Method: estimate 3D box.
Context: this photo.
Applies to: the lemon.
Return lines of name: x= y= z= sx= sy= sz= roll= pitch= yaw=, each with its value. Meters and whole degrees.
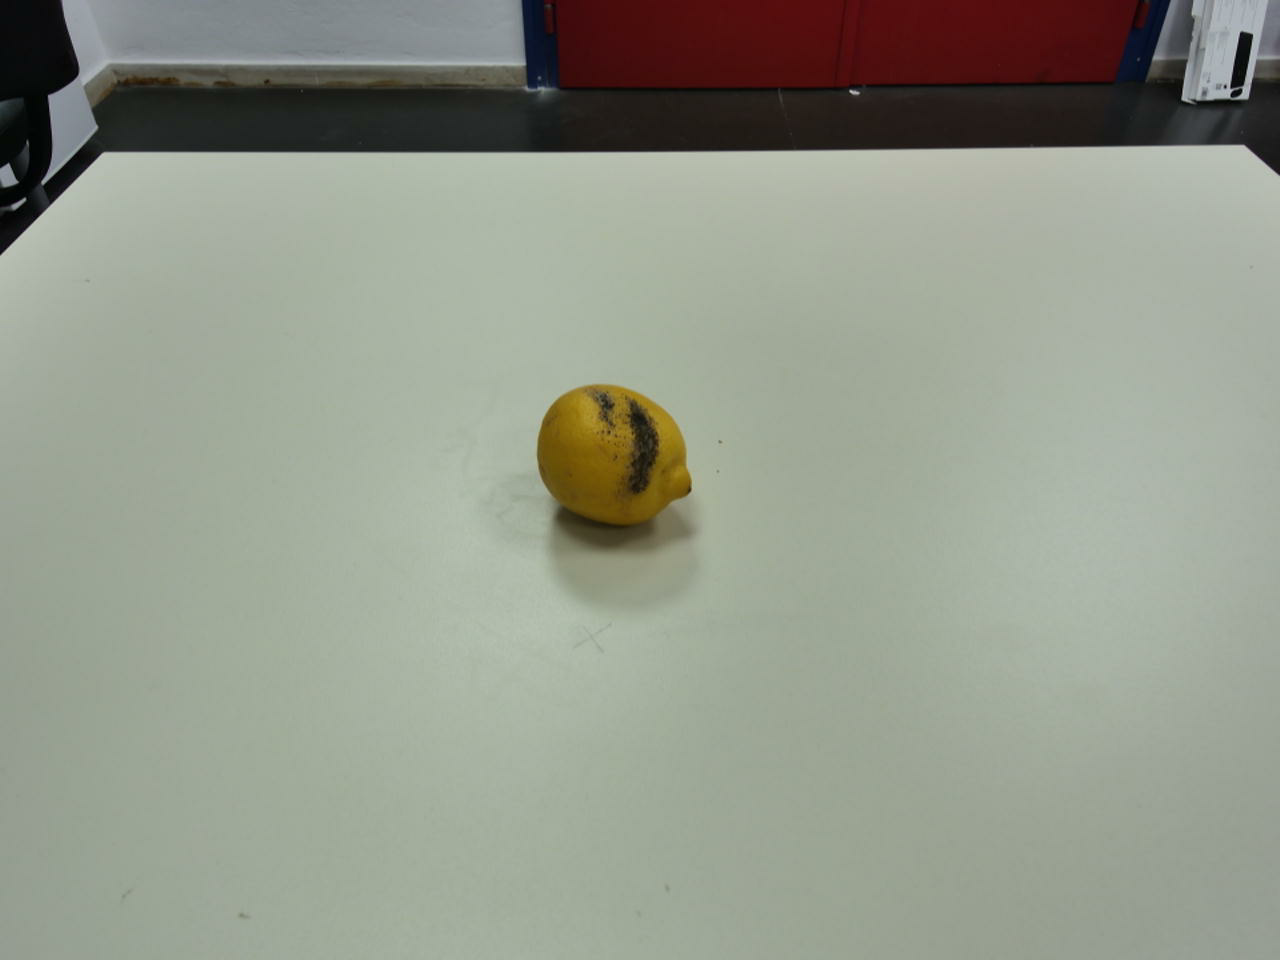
lemon: x=-0.012 y=-0.011 z=0.412 sx=0.061 sy=0.056 sz=0.058 roll=-6 pitch=39 yaw=-6
